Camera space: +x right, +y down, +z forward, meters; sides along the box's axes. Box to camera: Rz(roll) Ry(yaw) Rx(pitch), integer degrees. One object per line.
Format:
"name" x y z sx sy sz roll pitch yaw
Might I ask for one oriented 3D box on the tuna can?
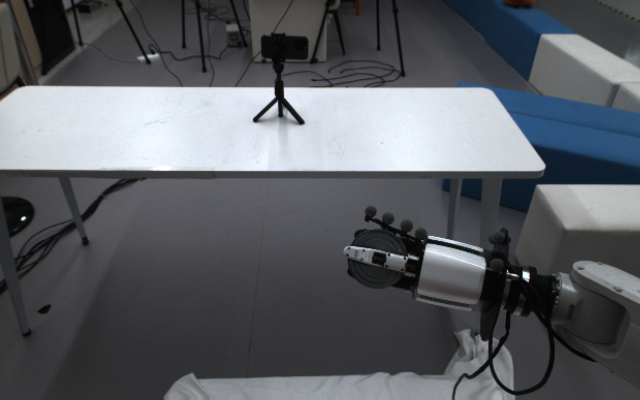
"tuna can" 0.087 0.083 0.703 0.085 0.085 0.034 14 -6 16
